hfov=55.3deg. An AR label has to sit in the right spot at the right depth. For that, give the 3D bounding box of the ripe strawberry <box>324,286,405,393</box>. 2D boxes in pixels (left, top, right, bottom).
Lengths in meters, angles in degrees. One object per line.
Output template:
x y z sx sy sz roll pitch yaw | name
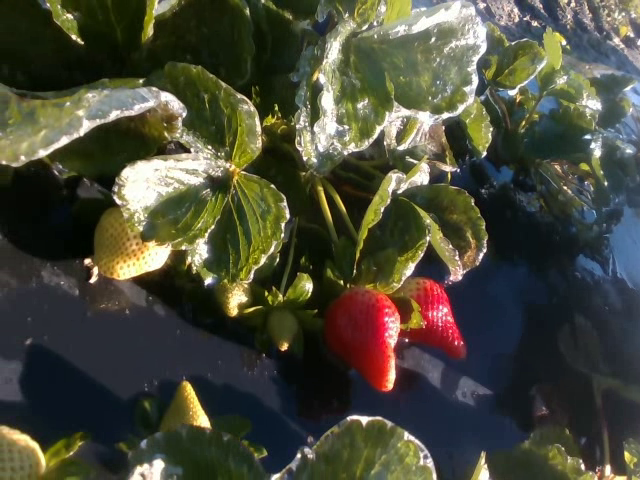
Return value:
0.034 0.058 0.347 0.040 0.069 0.052 -21 -24 32 | ripe strawberry

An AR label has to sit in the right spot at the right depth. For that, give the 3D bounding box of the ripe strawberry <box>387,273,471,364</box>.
0.074 0.047 0.381 0.040 0.059 0.043 -22 21 43 | ripe strawberry
